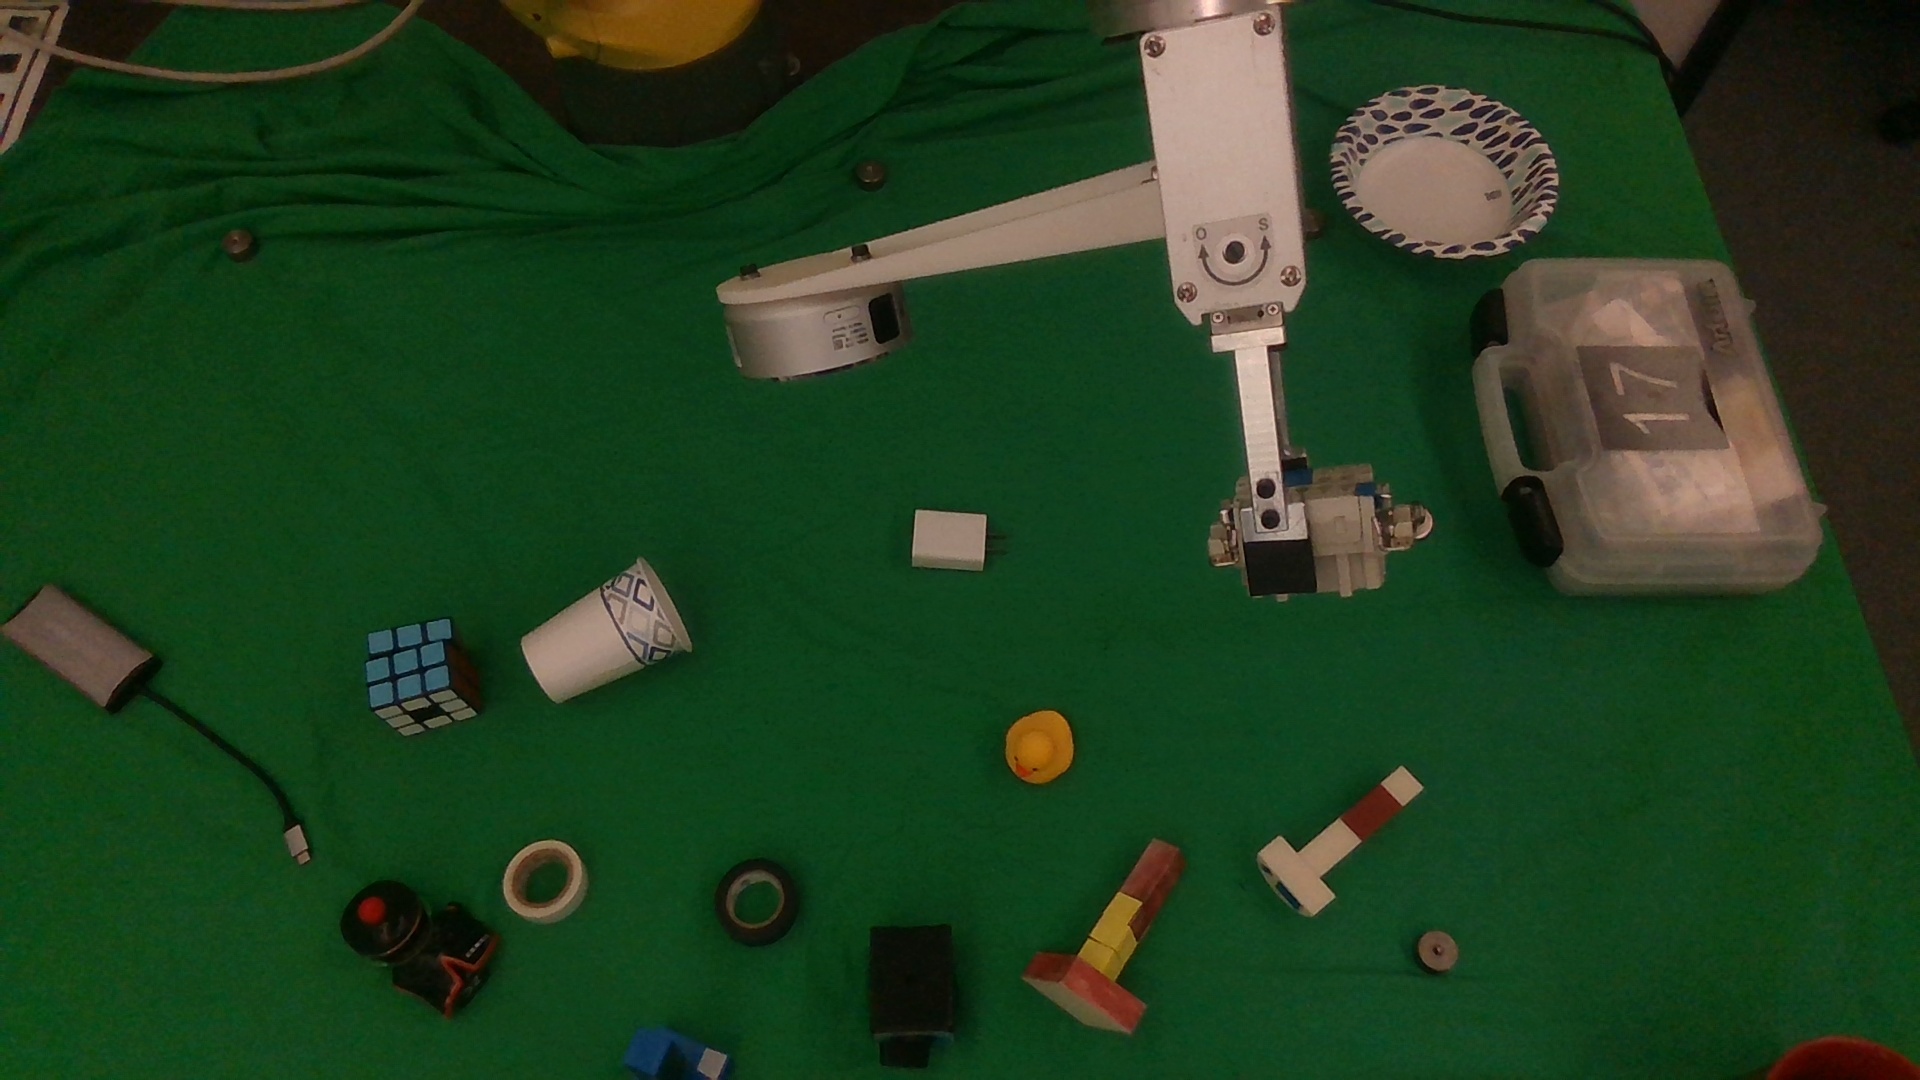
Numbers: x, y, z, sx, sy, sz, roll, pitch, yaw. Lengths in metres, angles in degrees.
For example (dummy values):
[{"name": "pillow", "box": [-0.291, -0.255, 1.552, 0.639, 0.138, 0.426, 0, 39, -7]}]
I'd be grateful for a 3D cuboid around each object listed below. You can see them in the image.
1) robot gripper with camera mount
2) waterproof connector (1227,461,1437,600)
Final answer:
[{"name": "robot gripper with camera mount", "box": [0.023, -0.054, 0.447, 0.194, 0.158, 0.119, -9, 22, 13]}, {"name": "waterproof connector", "box": [0.121, -0.003, 0.454, 0.065, 0.037, 0.035, -6, 17, 16]}]
